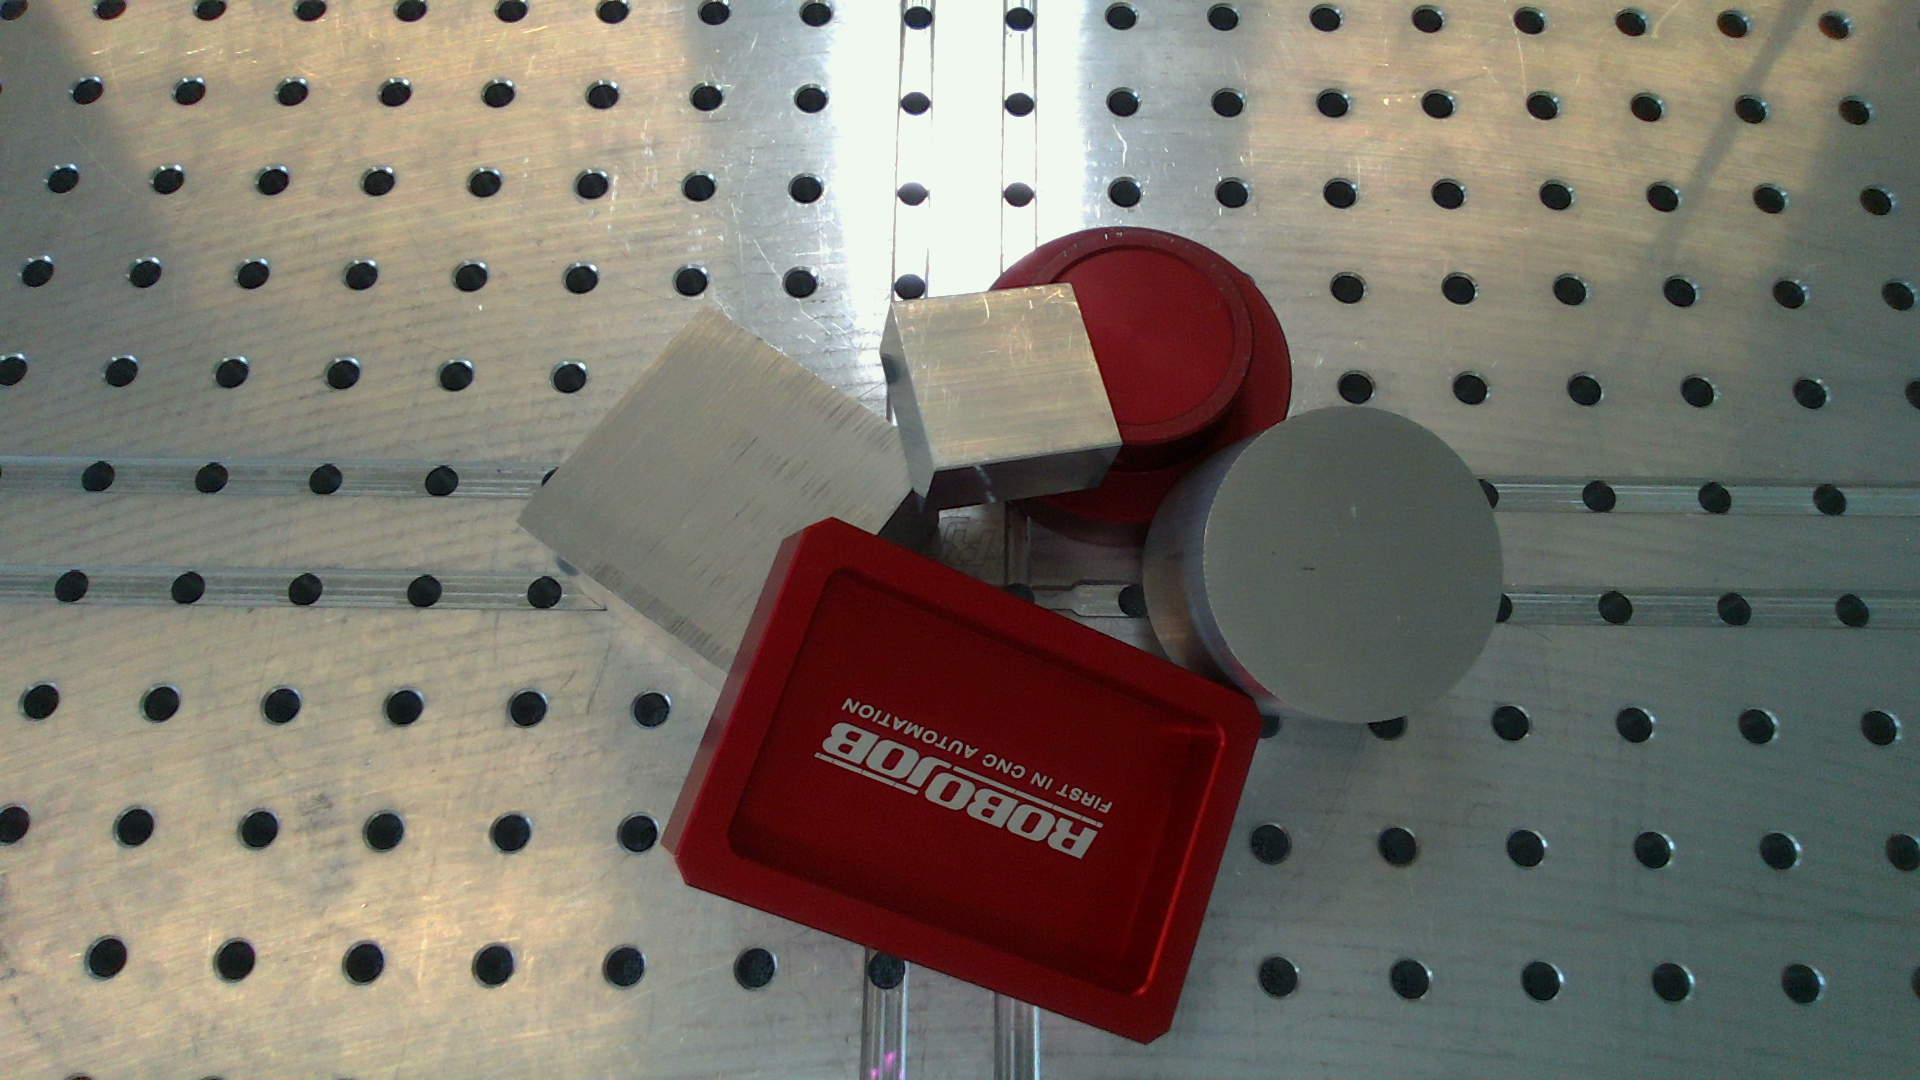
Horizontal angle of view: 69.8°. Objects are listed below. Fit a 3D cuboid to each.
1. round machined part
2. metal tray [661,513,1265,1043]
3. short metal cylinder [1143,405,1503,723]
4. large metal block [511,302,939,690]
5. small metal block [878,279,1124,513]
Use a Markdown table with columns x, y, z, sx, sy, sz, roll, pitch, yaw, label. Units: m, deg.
| x | y | z | sx | sy | sz | roll | pitch | yaw | label |
| --- | --- | --- | --- | --- | --- | --- | --- | --- | --- |
| 0.050 | -0.051 | 0.407 | 0.098 | 0.042 | 0.098 | 0 | 70 | 0 | round machined part |
| 0.003 | 0.060 | 0.342 | 0.130 | 0.030 | 0.090 | 24 | 77 | -15 | metal tray |
| 0.095 | 0.008 | 0.369 | 0.080 | 0.050 | 0.080 | 1 | 84 | -11 | short metal cylinder |
| -0.061 | -0.005 | 0.385 | 0.080 | 0.050 | 0.080 | 34 | 73 | 11 | large metal block |
| 0.010 | -0.038 | 0.362 | 0.050 | 0.025 | 0.050 | -9 | 67 | -15 | small metal block |
